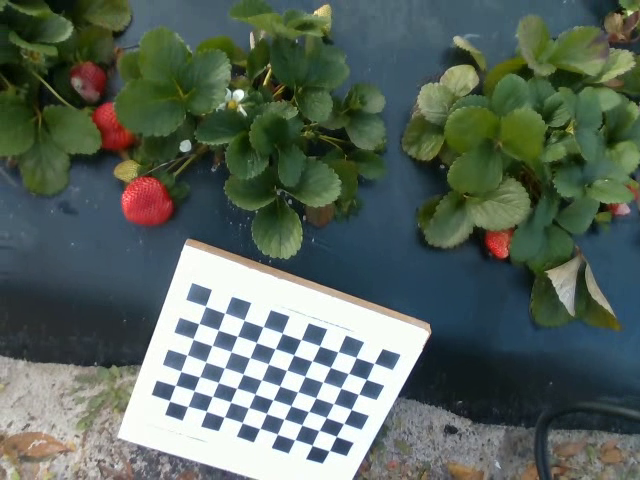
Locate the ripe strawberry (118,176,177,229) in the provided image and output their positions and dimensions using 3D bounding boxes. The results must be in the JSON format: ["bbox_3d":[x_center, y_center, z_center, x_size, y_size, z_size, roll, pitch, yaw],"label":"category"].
[{"bbox_3d":[-0.082,-0.015,0.276,0.022,0.025,0.030,15,31,20],"label":"ripe strawberry"}]
